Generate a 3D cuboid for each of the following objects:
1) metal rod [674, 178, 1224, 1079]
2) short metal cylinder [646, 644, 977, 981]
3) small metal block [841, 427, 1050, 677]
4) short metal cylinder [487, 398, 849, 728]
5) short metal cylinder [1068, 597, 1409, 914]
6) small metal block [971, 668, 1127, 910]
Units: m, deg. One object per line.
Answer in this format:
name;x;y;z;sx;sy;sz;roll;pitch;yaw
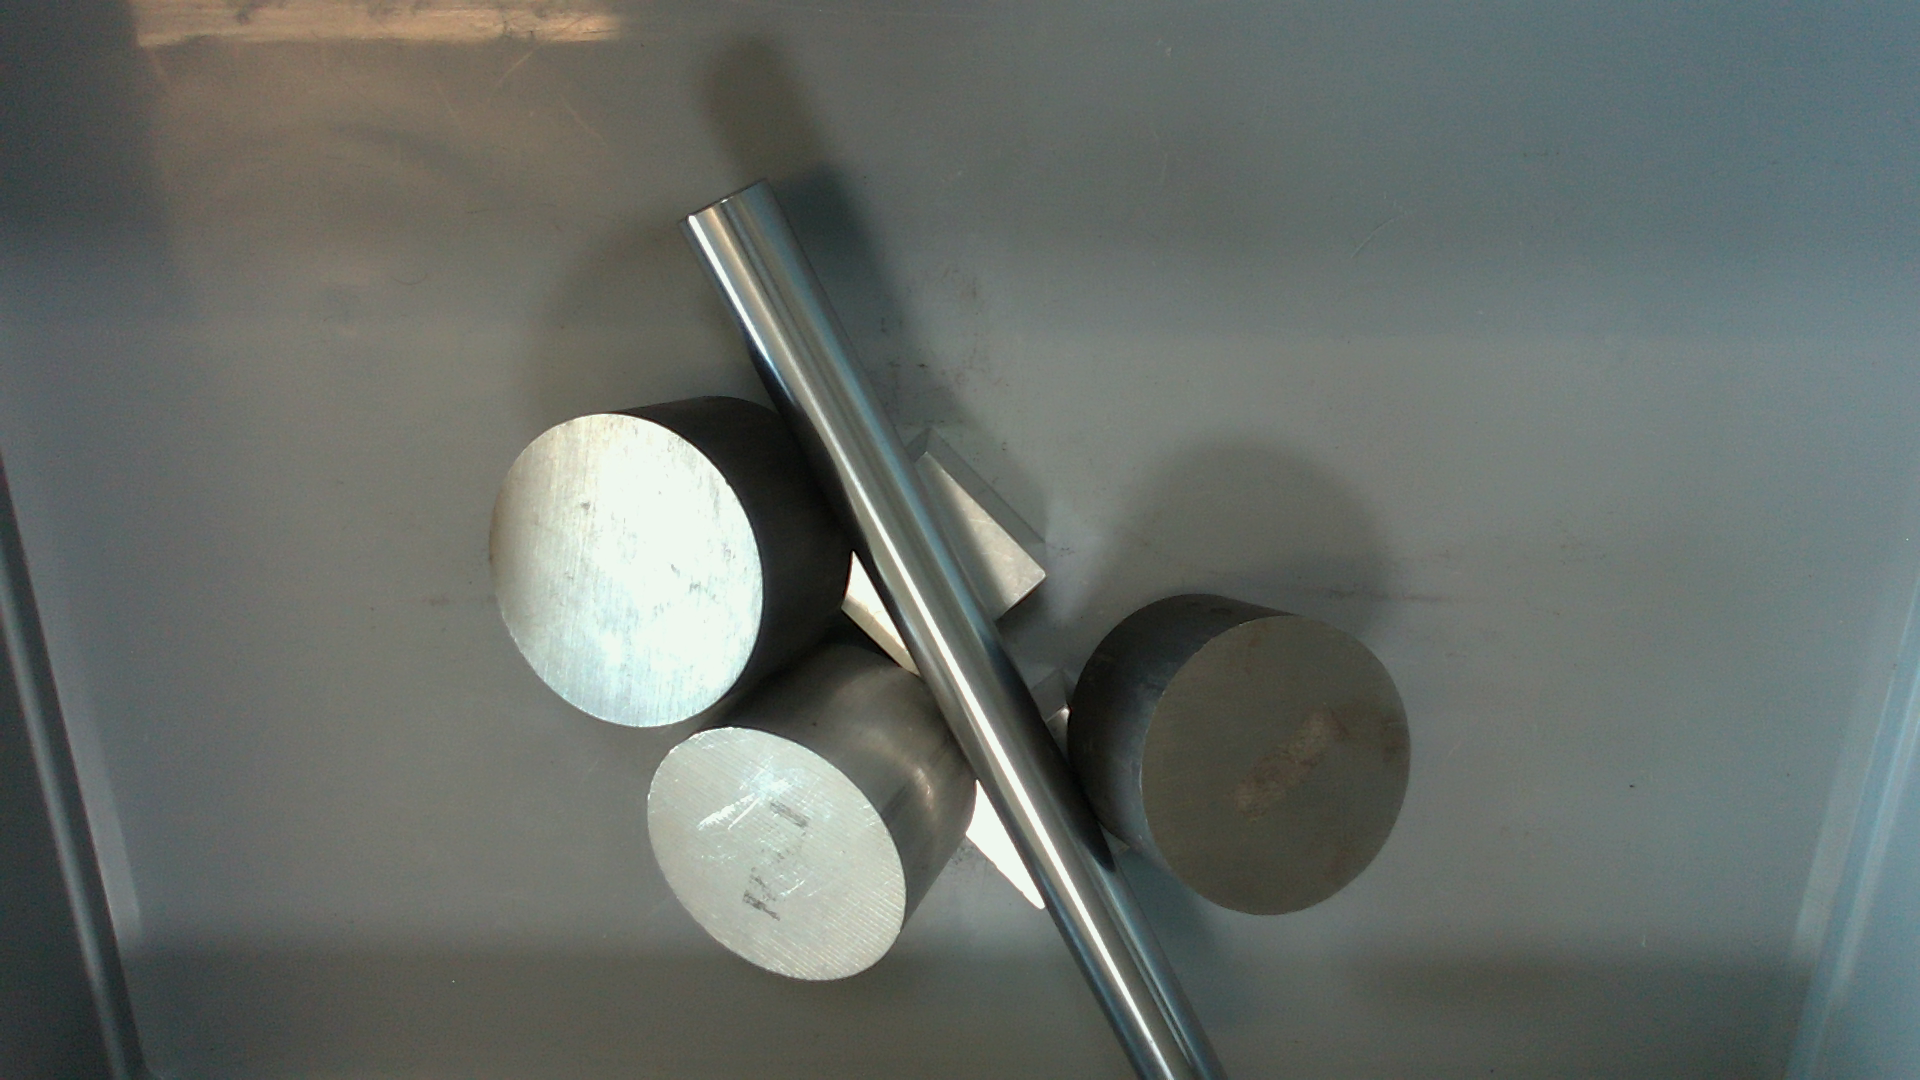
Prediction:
metal rod;0.006;0.045;0.382;0.025;0.025;0.300;-24;108;9
short metal cylinder;-0.041;0.077;0.393;0.080;0.050;0.080;10;116;20
small metal block;-0.010;0.004;0.394;0.050;0.025;0.050;-41;105;14
short metal cylinder;-0.076;0.004;0.366;0.080;0.050;0.080;4;102;20
short metal cylinder;0.077;0.058;0.387;0.080;0.050;0.080;-2;95;-18
small metal block;0.027;0.077;0.421;0.050;0.025;0.050;-39;106;13
